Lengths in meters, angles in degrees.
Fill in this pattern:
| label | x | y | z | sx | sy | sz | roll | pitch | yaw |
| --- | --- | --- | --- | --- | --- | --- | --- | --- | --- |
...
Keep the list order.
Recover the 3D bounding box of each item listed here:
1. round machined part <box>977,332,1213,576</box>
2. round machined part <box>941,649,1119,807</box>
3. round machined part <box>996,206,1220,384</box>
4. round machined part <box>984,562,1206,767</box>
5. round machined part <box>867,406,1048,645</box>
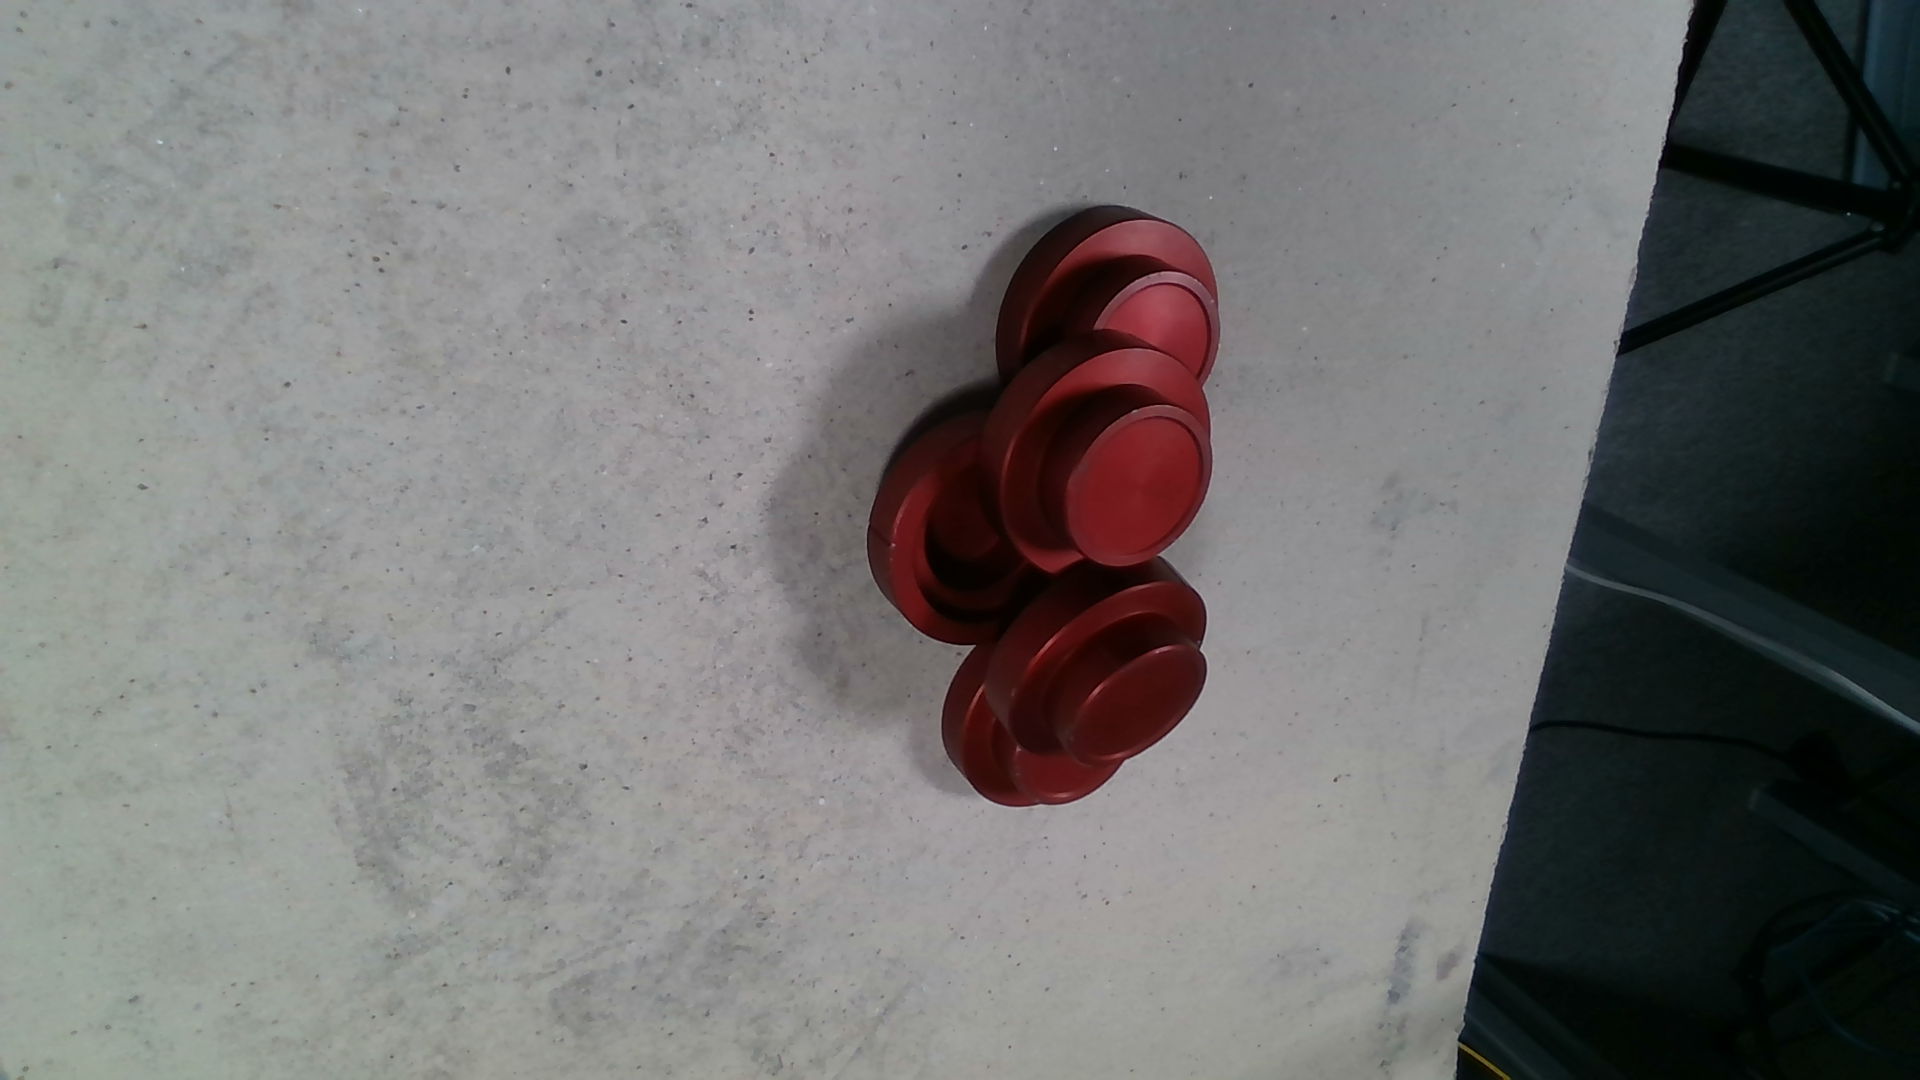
| label | x | y | z | sx | sy | sz | roll | pitch | yaw |
| --- | --- | --- | --- | --- | --- | --- | --- | --- | --- |
| round machined part | 0.059 | -0.028 | 0.536 | 0.098 | 0.042 | 0.098 | -14 | 122 | -25 |
| round machined part | 0.044 | 0.084 | 0.641 | 0.098 | 0.042 | 0.098 | -14 | 122 | -25 |
| round machined part | 0.067 | -0.083 | 0.565 | 0.098 | 0.042 | 0.098 | -14 | 122 | -25 |
| round machined part | 0.062 | 0.055 | 0.571 | 0.098 | 0.042 | 0.098 | -21 | 137 | -21 |
| round machined part | 0.005 | -0.010 | 0.568 | 0.098 | 0.042 | 0.098 | -14 | 122 | -25 |
